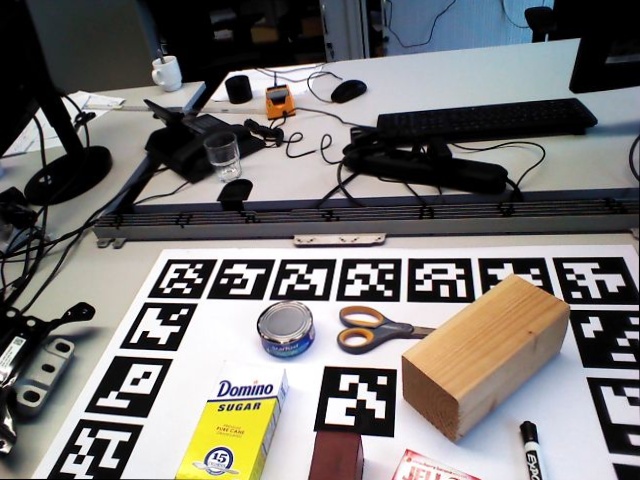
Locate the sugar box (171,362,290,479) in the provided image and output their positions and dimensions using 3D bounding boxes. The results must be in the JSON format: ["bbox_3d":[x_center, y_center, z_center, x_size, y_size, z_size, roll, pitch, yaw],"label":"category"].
[{"bbox_3d":[-0.108,0.241,0.663,0.093,0.045,0.175,2,41,17],"label":"sugar box"}]

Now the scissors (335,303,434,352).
[{"bbox_3d":[0.119,0.132,0.751,0.204,0.016,0.087,2,41,22],"label":"scissors"}]

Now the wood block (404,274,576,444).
[{"bbox_3d":[0.216,0.145,0.654,0.205,0.091,0.090,-31,41,-21],"label":"wood block"}]

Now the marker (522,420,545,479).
[{"bbox_3d":[0.235,0.254,0.564,0.020,0.020,0.120,0,43,16],"label":"marker"}]

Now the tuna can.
[{"bbox_3d":[-0.053,0.133,0.782,0.086,0.034,0.085,-8,40,7],"label":"tuna can"}]

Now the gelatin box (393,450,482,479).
[{"bbox_3d":[0.121,0.280,0.560,0.090,0.030,0.073,12,46,29],"label":"gelatin box"}]

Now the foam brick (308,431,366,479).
[{"bbox_3d":[0.019,0.265,0.584,0.053,0.051,0.077,0,41,16],"label":"foam brick"}]
